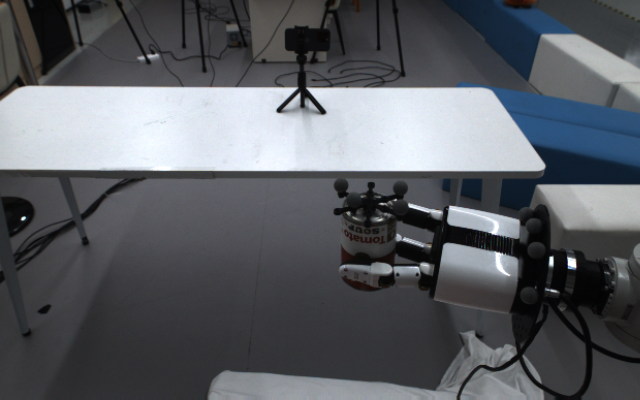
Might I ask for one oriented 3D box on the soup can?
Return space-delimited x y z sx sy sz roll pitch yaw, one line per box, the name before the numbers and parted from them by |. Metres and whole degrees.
soup can | 0.061 0.048 0.586 0.067 0.101 0.067 -2 34 1
